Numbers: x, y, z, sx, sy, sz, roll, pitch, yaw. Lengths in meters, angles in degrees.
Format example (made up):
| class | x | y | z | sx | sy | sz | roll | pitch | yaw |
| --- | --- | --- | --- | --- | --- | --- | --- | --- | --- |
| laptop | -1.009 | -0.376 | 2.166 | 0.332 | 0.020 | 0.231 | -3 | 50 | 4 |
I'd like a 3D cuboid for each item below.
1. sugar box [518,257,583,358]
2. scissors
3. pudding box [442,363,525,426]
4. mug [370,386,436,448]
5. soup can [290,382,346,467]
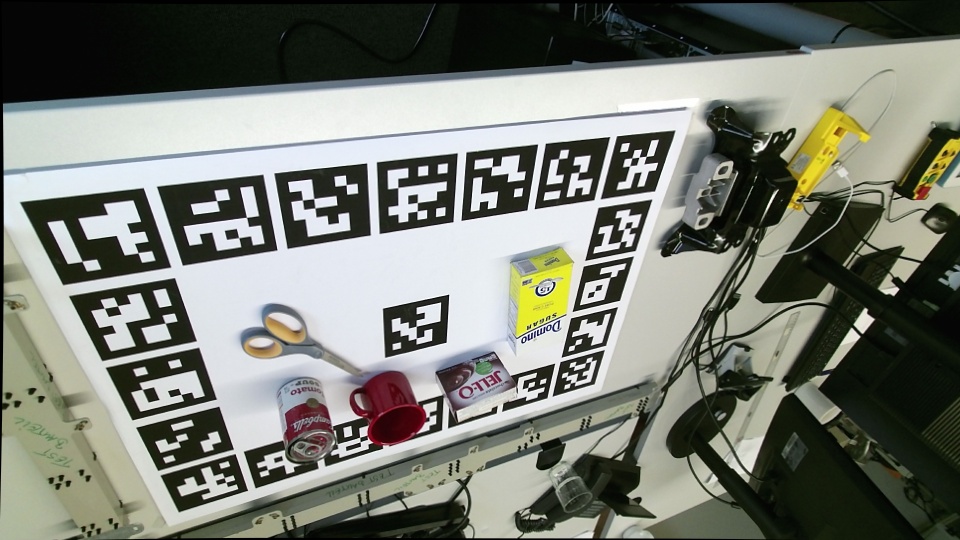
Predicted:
| class | x | y | z | sx | sy | sz | roll | pitch | yaw |
| --- | --- | --- | --- | --- | --- | --- | --- | --- | --- |
| sugar box | 0.113 | 0.071 | 0.892 | 0.093 | 0.045 | 0.176 | -14 | 126 | -22 |
| scissors | -0.221 | 0.121 | 0.758 | 0.087 | 0.016 | 0.203 | -49 | 130 | -2 |
| pudding box | 0.006 | 0.212 | 0.895 | 0.114 | 0.090 | 0.038 | -18 | 123 | -16 |
| mug | -0.133 | 0.234 | 0.845 | 0.093 | 0.081 | 0.117 | -41 | 133 | -1 |
| soup can | -0.235 | 0.222 | 0.777 | 0.068 | 0.101 | 0.068 | -16 | 130 | -20 |
